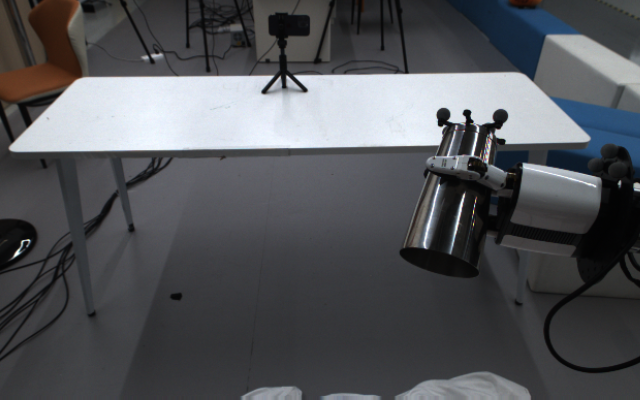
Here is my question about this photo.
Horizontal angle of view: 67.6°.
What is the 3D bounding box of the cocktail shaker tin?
[{"bbox_3d":[0.162,-0.004,0.579,0.093,0.093,0.170,14,70,16],"label":"cocktail shaker tin"}]
